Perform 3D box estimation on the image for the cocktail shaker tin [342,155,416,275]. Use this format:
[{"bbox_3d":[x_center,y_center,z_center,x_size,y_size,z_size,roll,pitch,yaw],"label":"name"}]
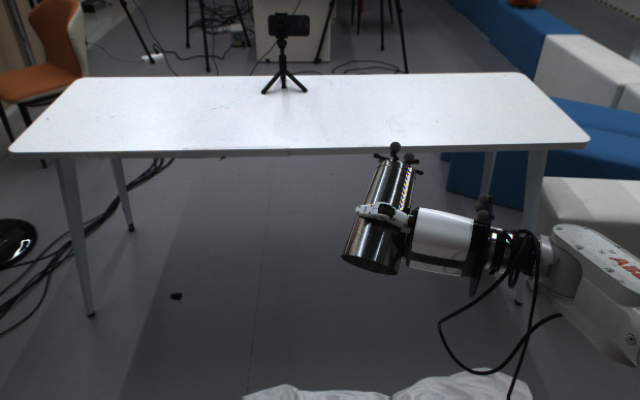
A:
[{"bbox_3d":[0.102,0.025,0.778,0.093,0.093,0.170,14,73,17],"label":"cocktail shaker tin"}]
